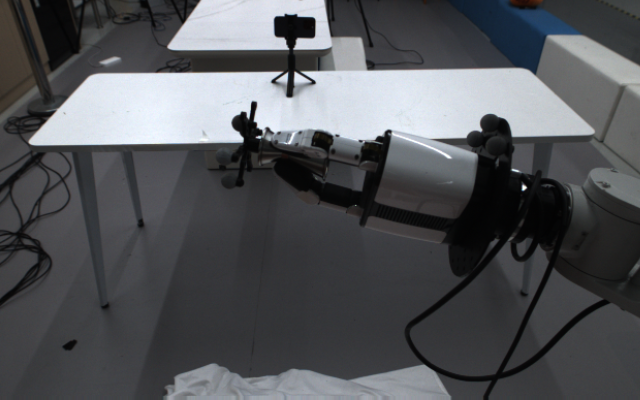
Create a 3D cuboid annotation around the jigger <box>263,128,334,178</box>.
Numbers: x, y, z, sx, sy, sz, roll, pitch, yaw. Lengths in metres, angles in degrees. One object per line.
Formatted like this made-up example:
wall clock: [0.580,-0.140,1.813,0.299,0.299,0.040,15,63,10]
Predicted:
jigger: [-0.017,-0.051,0.487,0.071,0.043,0.043,11,35,3]
